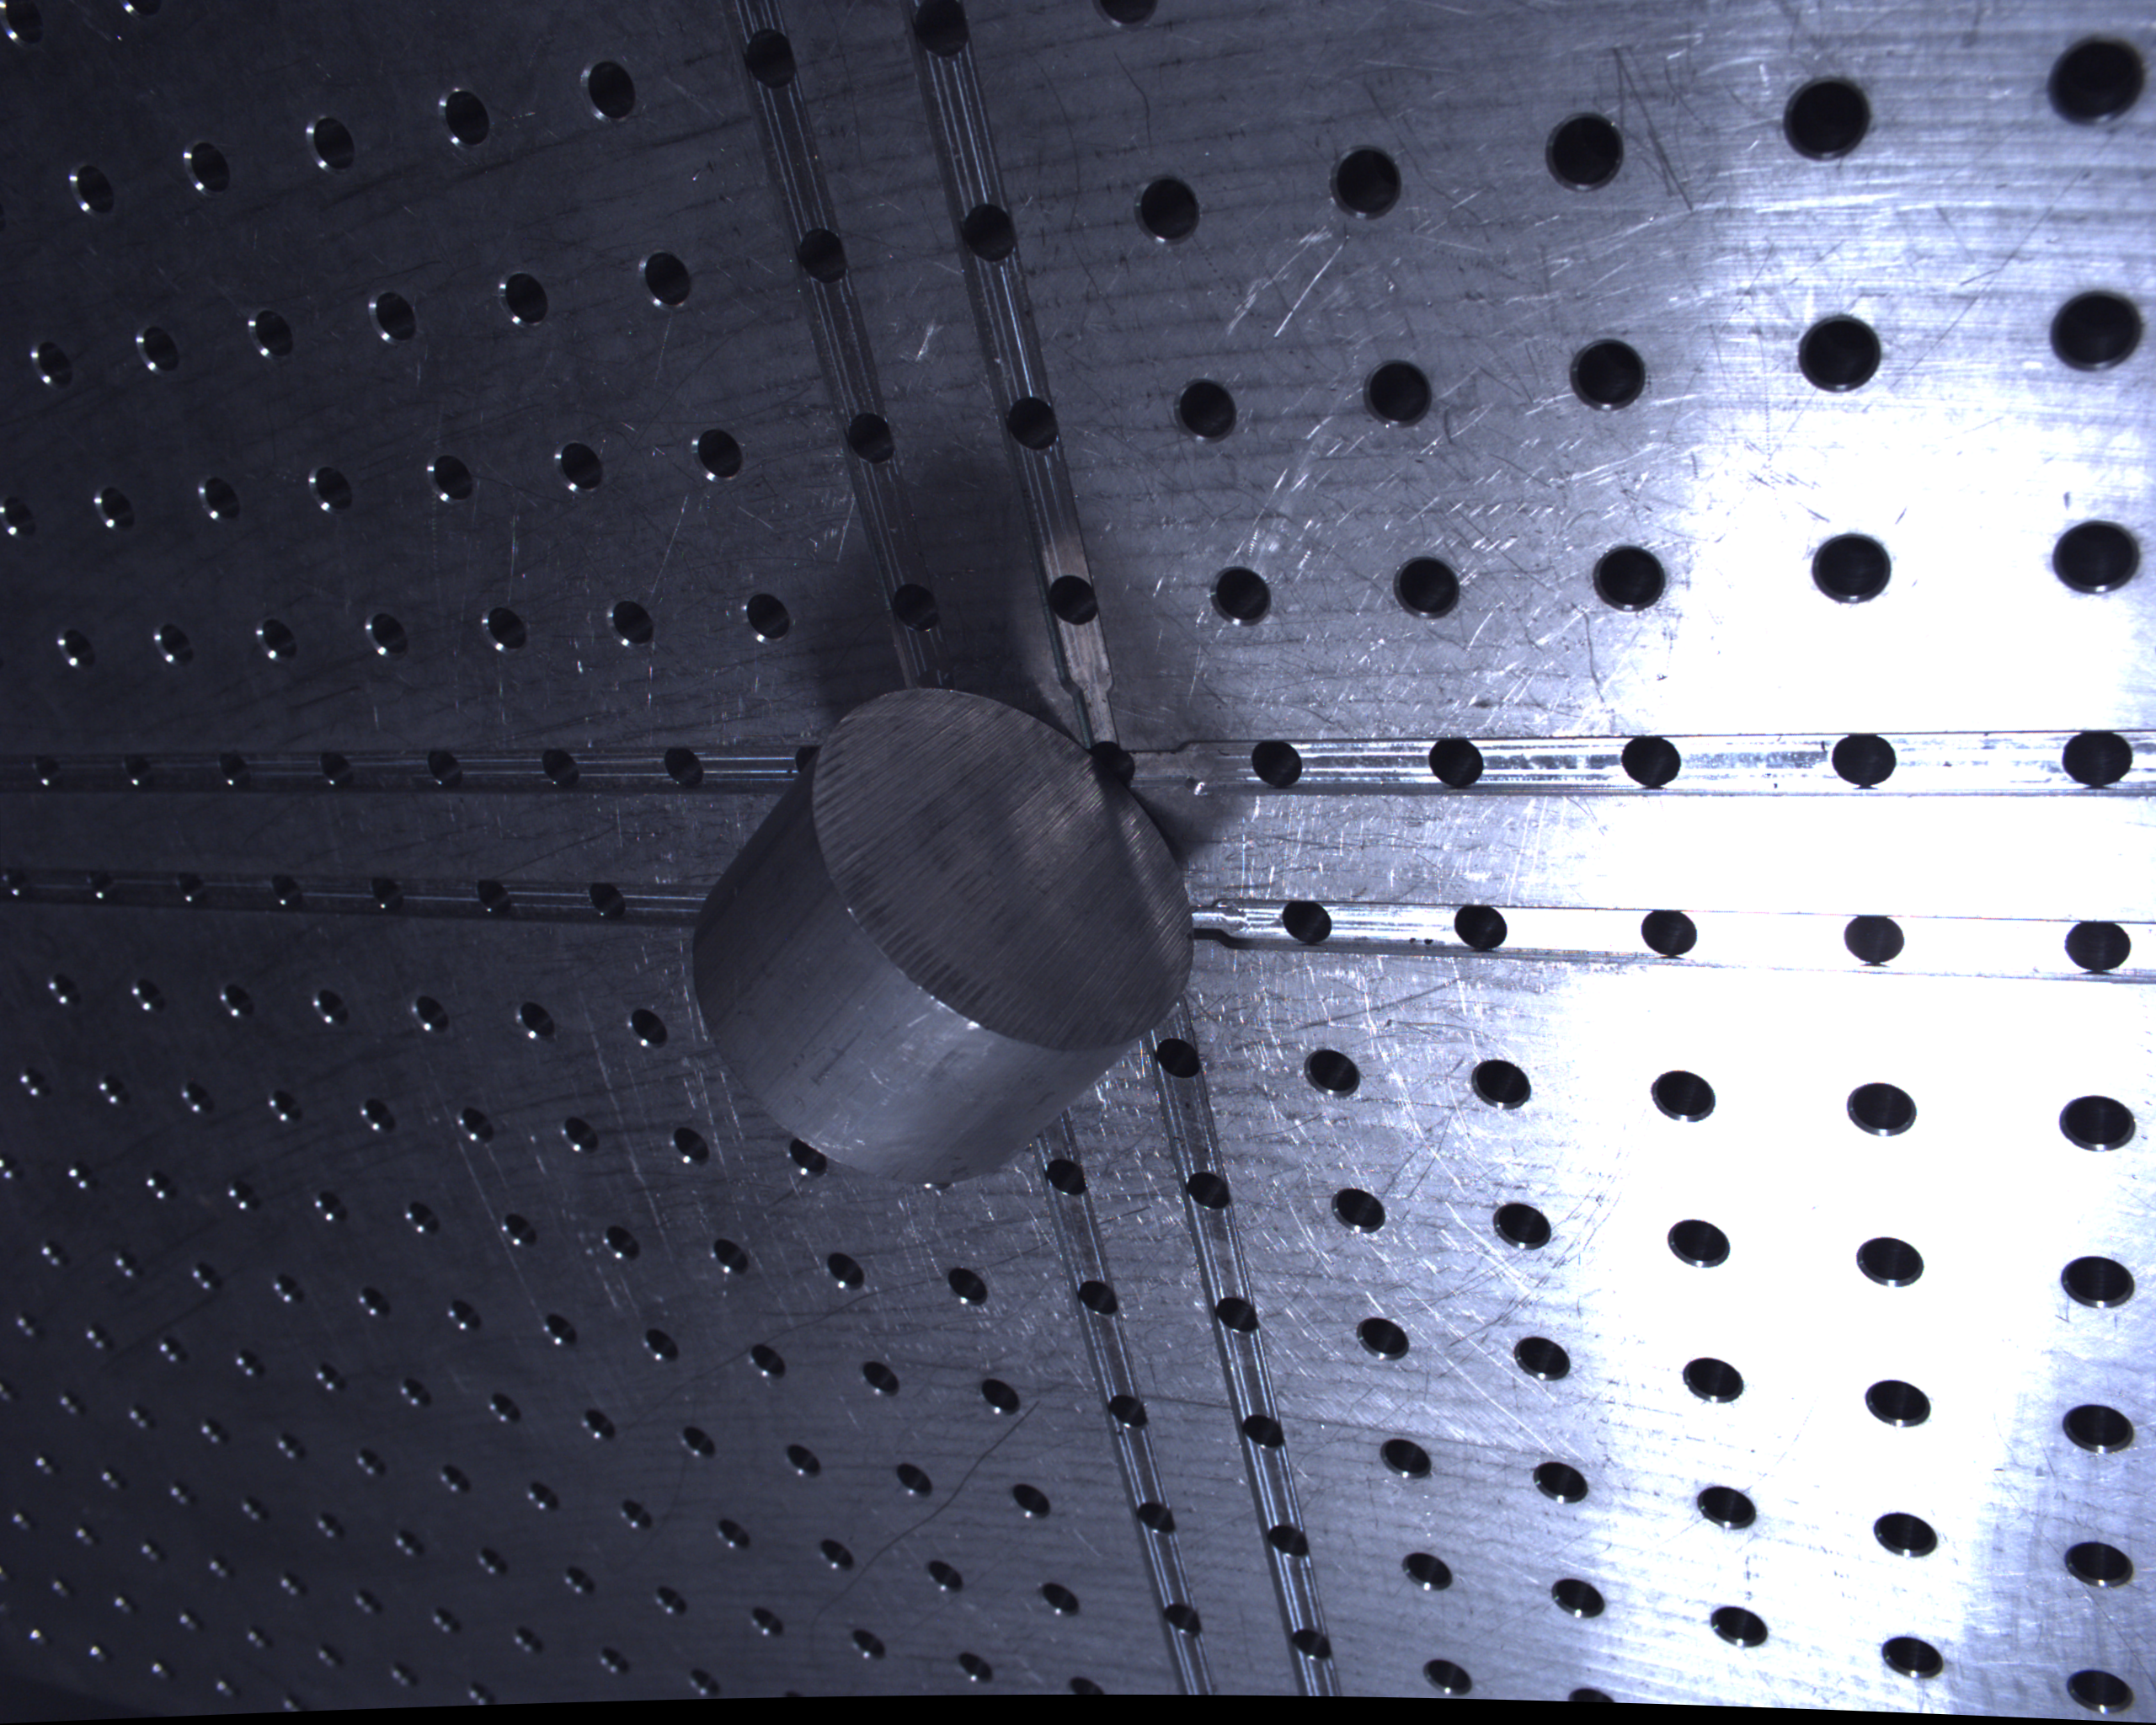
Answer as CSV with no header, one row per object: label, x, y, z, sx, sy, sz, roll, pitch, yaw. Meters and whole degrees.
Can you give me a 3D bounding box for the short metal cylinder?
short metal cylinder,-0.026,0.014,0.395,0.080,0.080,0.050,42,129,-1
